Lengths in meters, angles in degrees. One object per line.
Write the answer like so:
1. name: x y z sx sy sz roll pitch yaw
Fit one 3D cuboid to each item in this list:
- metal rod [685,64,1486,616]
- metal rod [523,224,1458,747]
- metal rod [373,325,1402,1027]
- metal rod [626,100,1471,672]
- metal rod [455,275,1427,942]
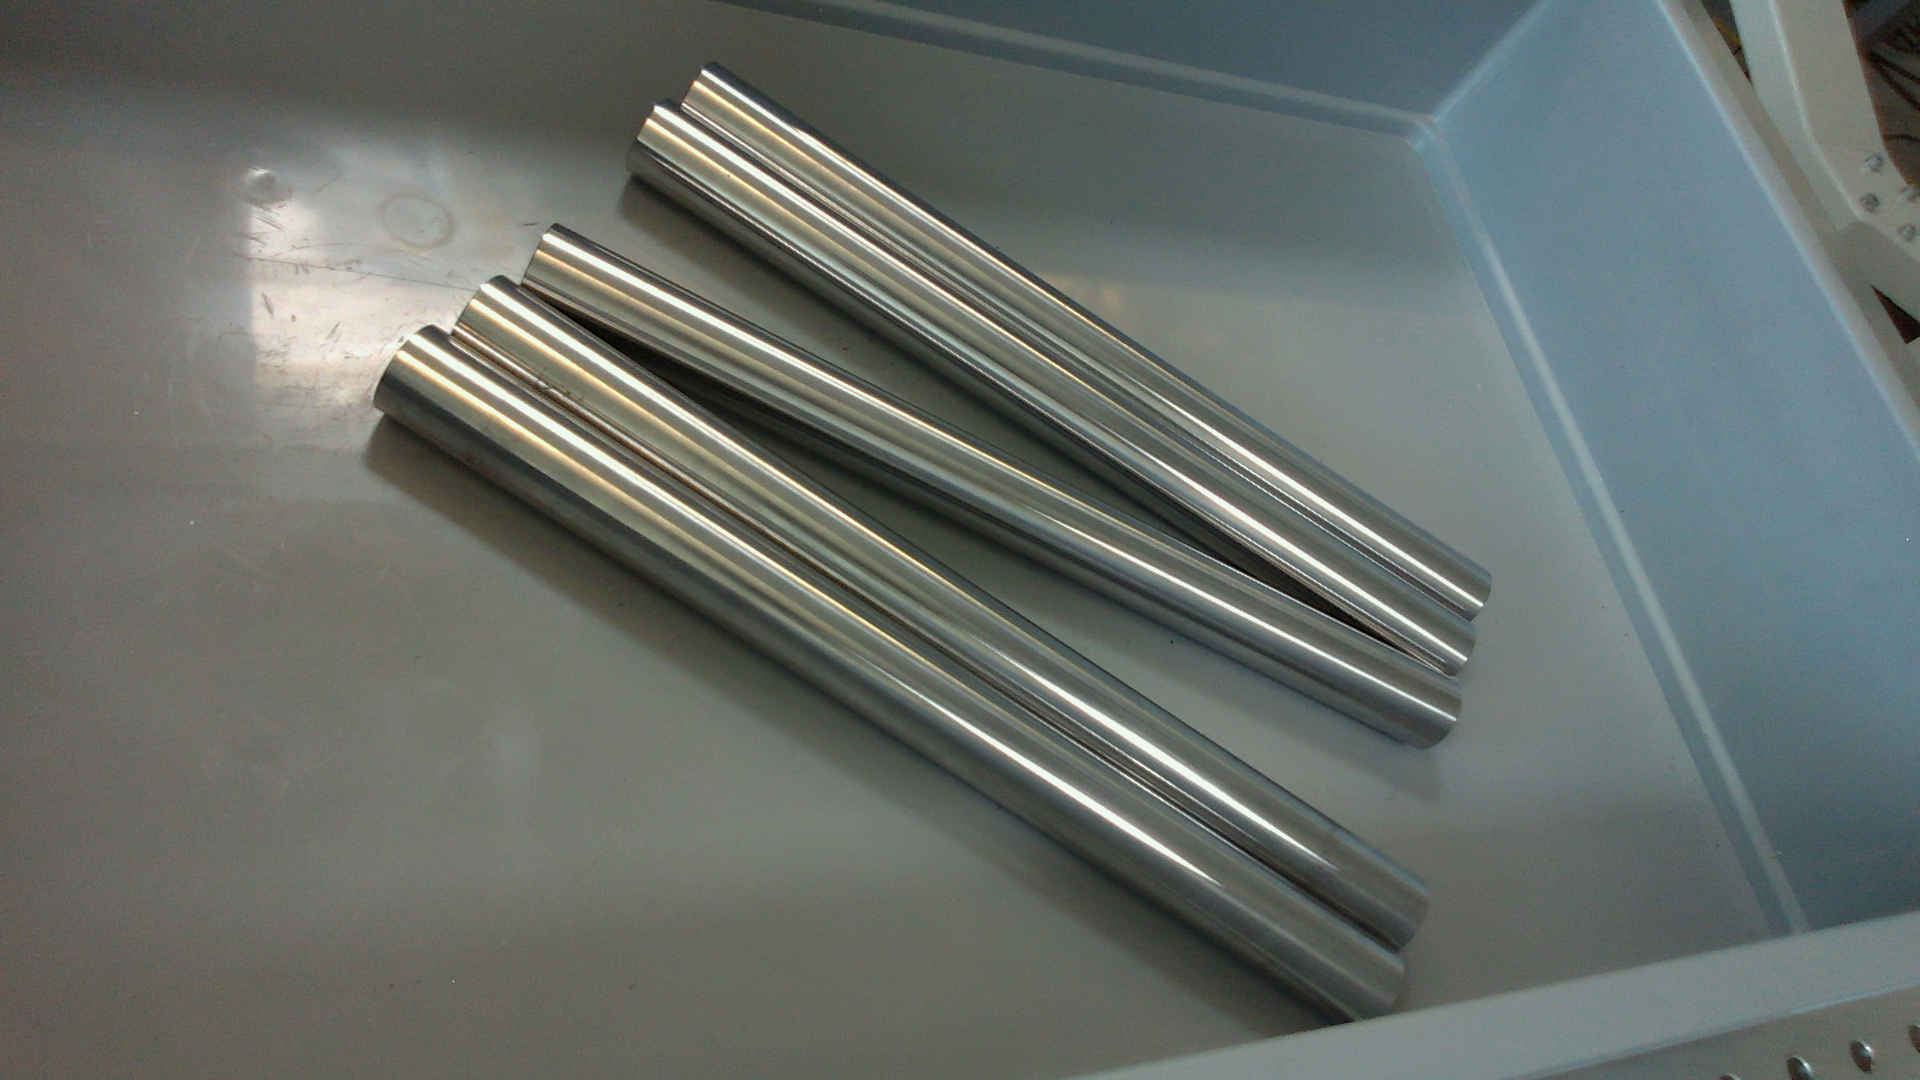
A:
1. metal rod: 0.044 -0.058 0.448 0.300 0.025 0.025 32 51 -7
2. metal rod: 0.017 -0.010 0.404 0.300 0.025 0.025 26 52 -12
3. metal rod: -0.013 0.039 0.358 0.300 0.025 0.025 33 51 -6
4. metal rod: 0.033 -0.042 0.432 0.300 0.025 0.025 32 51 -7
5. metal rod: -0.001 0.024 0.374 0.300 0.025 0.025 33 51 -6
